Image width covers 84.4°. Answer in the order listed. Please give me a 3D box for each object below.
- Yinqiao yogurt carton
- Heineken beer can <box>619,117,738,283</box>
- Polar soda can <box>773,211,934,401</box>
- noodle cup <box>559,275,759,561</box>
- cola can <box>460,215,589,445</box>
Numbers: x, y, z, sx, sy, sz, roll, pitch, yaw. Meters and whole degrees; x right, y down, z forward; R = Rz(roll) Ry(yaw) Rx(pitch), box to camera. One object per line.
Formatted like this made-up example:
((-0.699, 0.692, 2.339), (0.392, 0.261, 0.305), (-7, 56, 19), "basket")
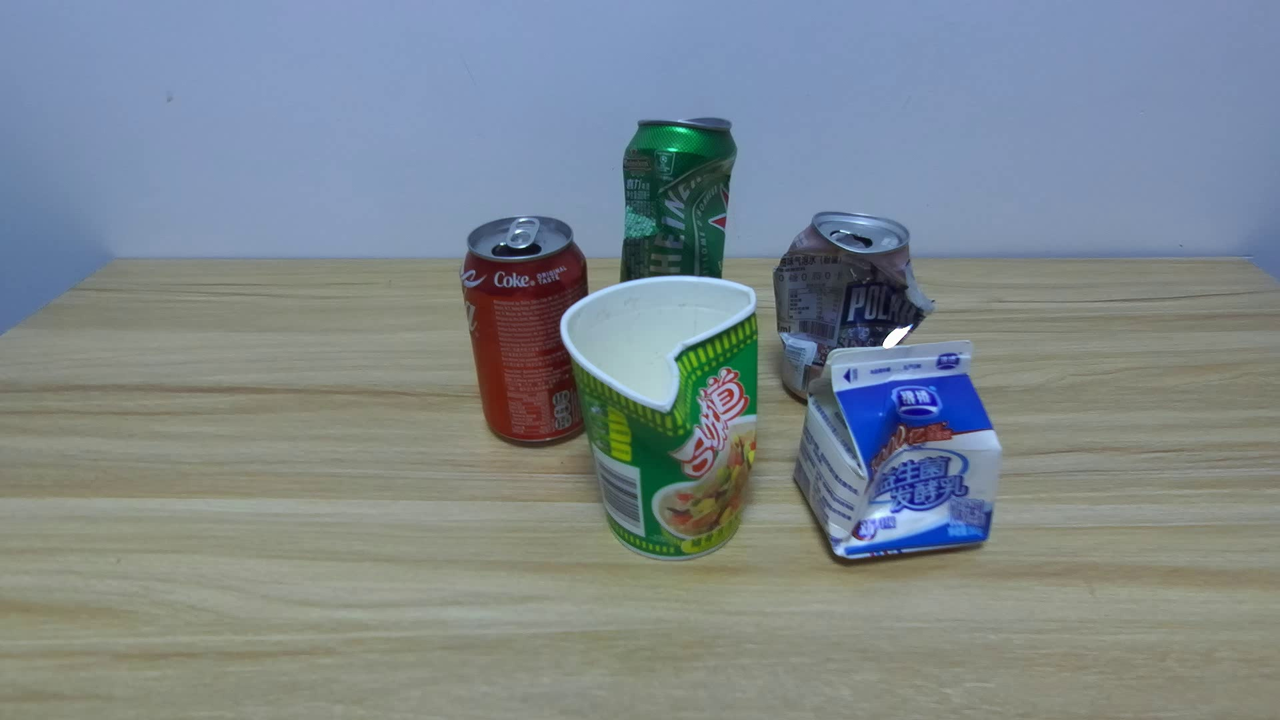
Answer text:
((0.119, 0.035, 0.336), (0.077, 0.094, 0.071), (-5, 26, -7), "Yinqiao yogurt carton")
((0.021, -0.064, 0.431), (0.067, 0.159, 0.078), (2, 25, -2), "Heineken beer can")
((0.122, -0.028, 0.412), (0.074, 0.114, 0.070), (-21, 43, -22), "Polar soda can")
((0.015, 0.028, 0.329), (0.094, 0.109, 0.086), (-25, 40, -30), "noodle cup")
((-0.061, -0.016, 0.396), (0.068, 0.120, 0.068), (-1, 33, 1), "cola can")
